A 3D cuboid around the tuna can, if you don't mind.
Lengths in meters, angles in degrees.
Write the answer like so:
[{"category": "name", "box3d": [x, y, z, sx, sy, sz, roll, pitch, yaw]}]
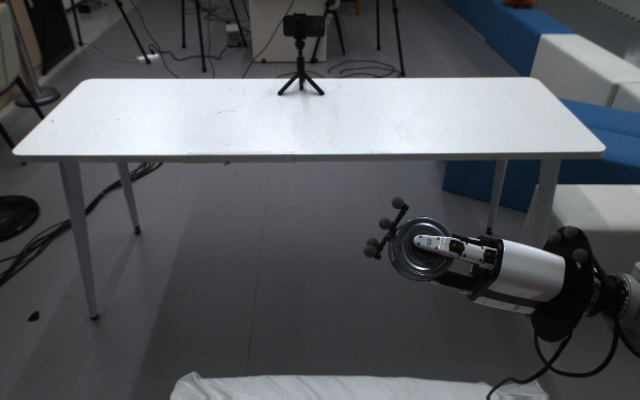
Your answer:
[{"category": "tuna can", "box3d": [0.141, 0.064, 0.658, 0.085, 0.034, 0.085, 1, 74, -4]}]
